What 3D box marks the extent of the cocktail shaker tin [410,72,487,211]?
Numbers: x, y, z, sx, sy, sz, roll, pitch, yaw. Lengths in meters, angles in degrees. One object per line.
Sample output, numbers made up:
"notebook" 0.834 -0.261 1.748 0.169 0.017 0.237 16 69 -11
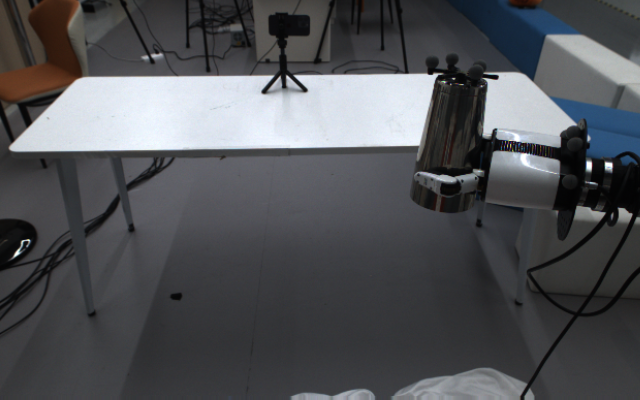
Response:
"cocktail shaker tin" 0.180 -0.080 0.661 0.093 0.170 0.093 1 28 -1
